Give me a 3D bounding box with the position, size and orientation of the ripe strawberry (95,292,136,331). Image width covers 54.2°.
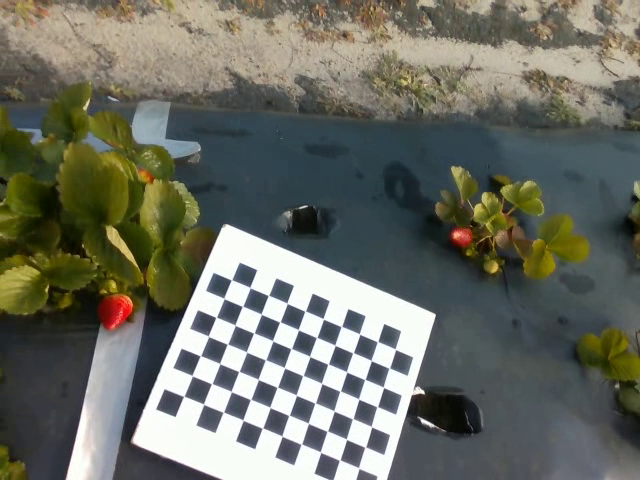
[{"bbox_3d":[-0.220,0.079,0.661,0.050,0.055,0.036,19,-35,-12],"label":"ripe strawberry"}]
